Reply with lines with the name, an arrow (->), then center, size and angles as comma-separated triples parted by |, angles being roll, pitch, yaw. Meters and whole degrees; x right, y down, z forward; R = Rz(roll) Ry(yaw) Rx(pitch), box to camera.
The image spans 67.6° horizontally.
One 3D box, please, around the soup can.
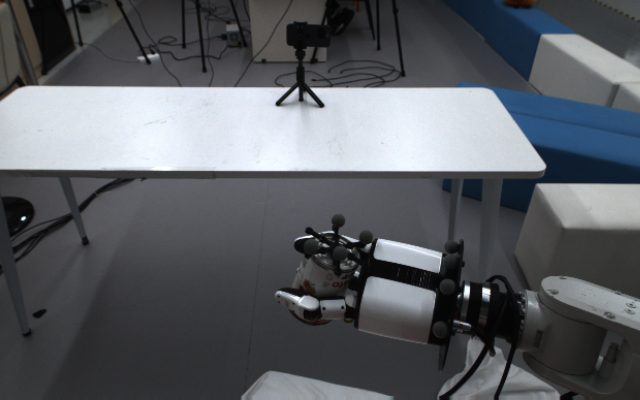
soup can -> 0.004, 0.100, 0.608 | 0.067, 0.101, 0.067 | 14, 35, -10
